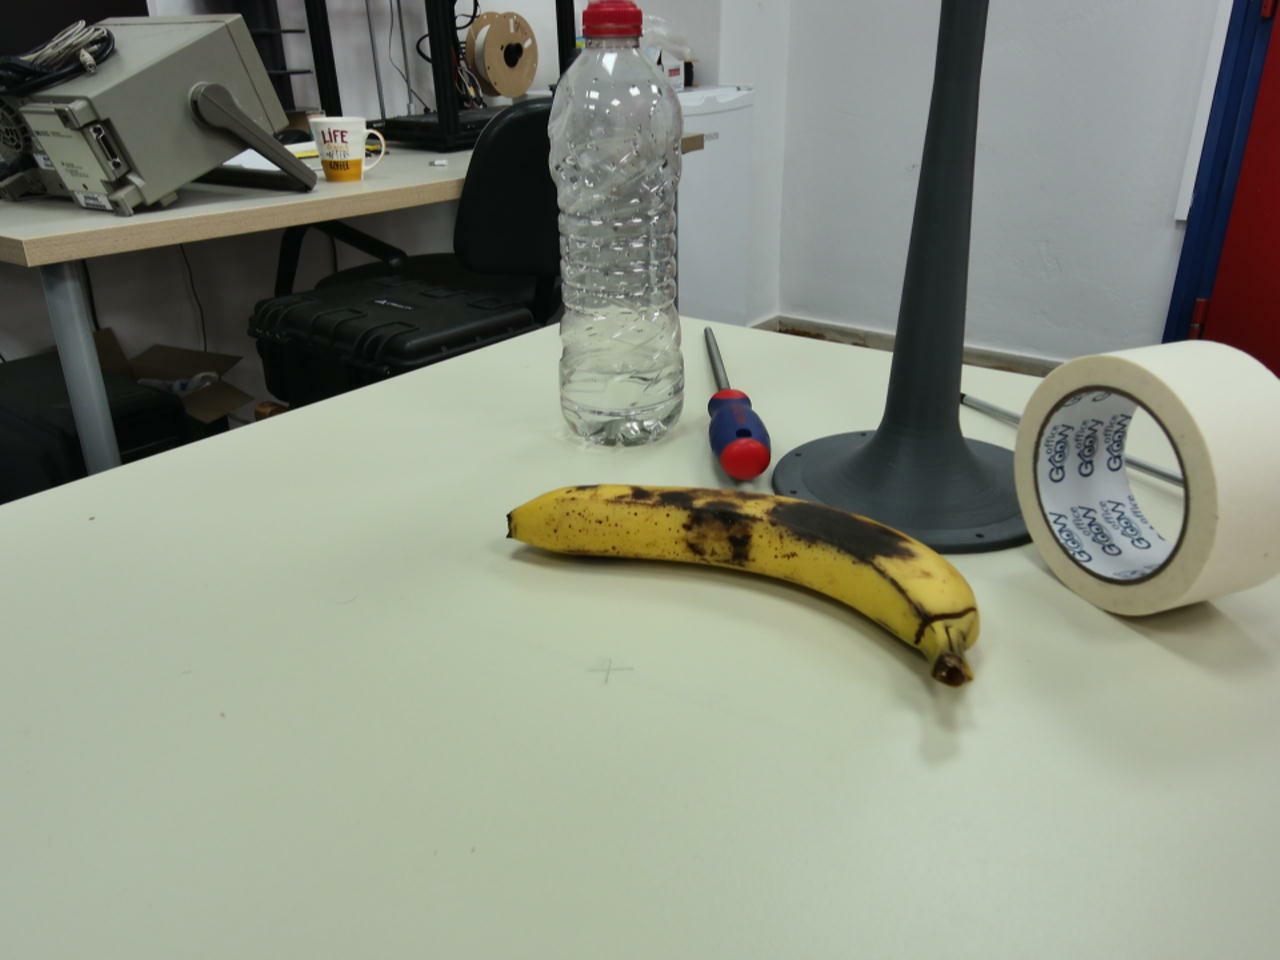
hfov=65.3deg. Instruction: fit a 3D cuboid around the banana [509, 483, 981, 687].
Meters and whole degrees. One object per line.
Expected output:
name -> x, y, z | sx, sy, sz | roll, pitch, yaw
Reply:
banana -> 0.047, 0.031, 0.430 | 0.222, 0.037, 0.084 | 17, 28, 36
